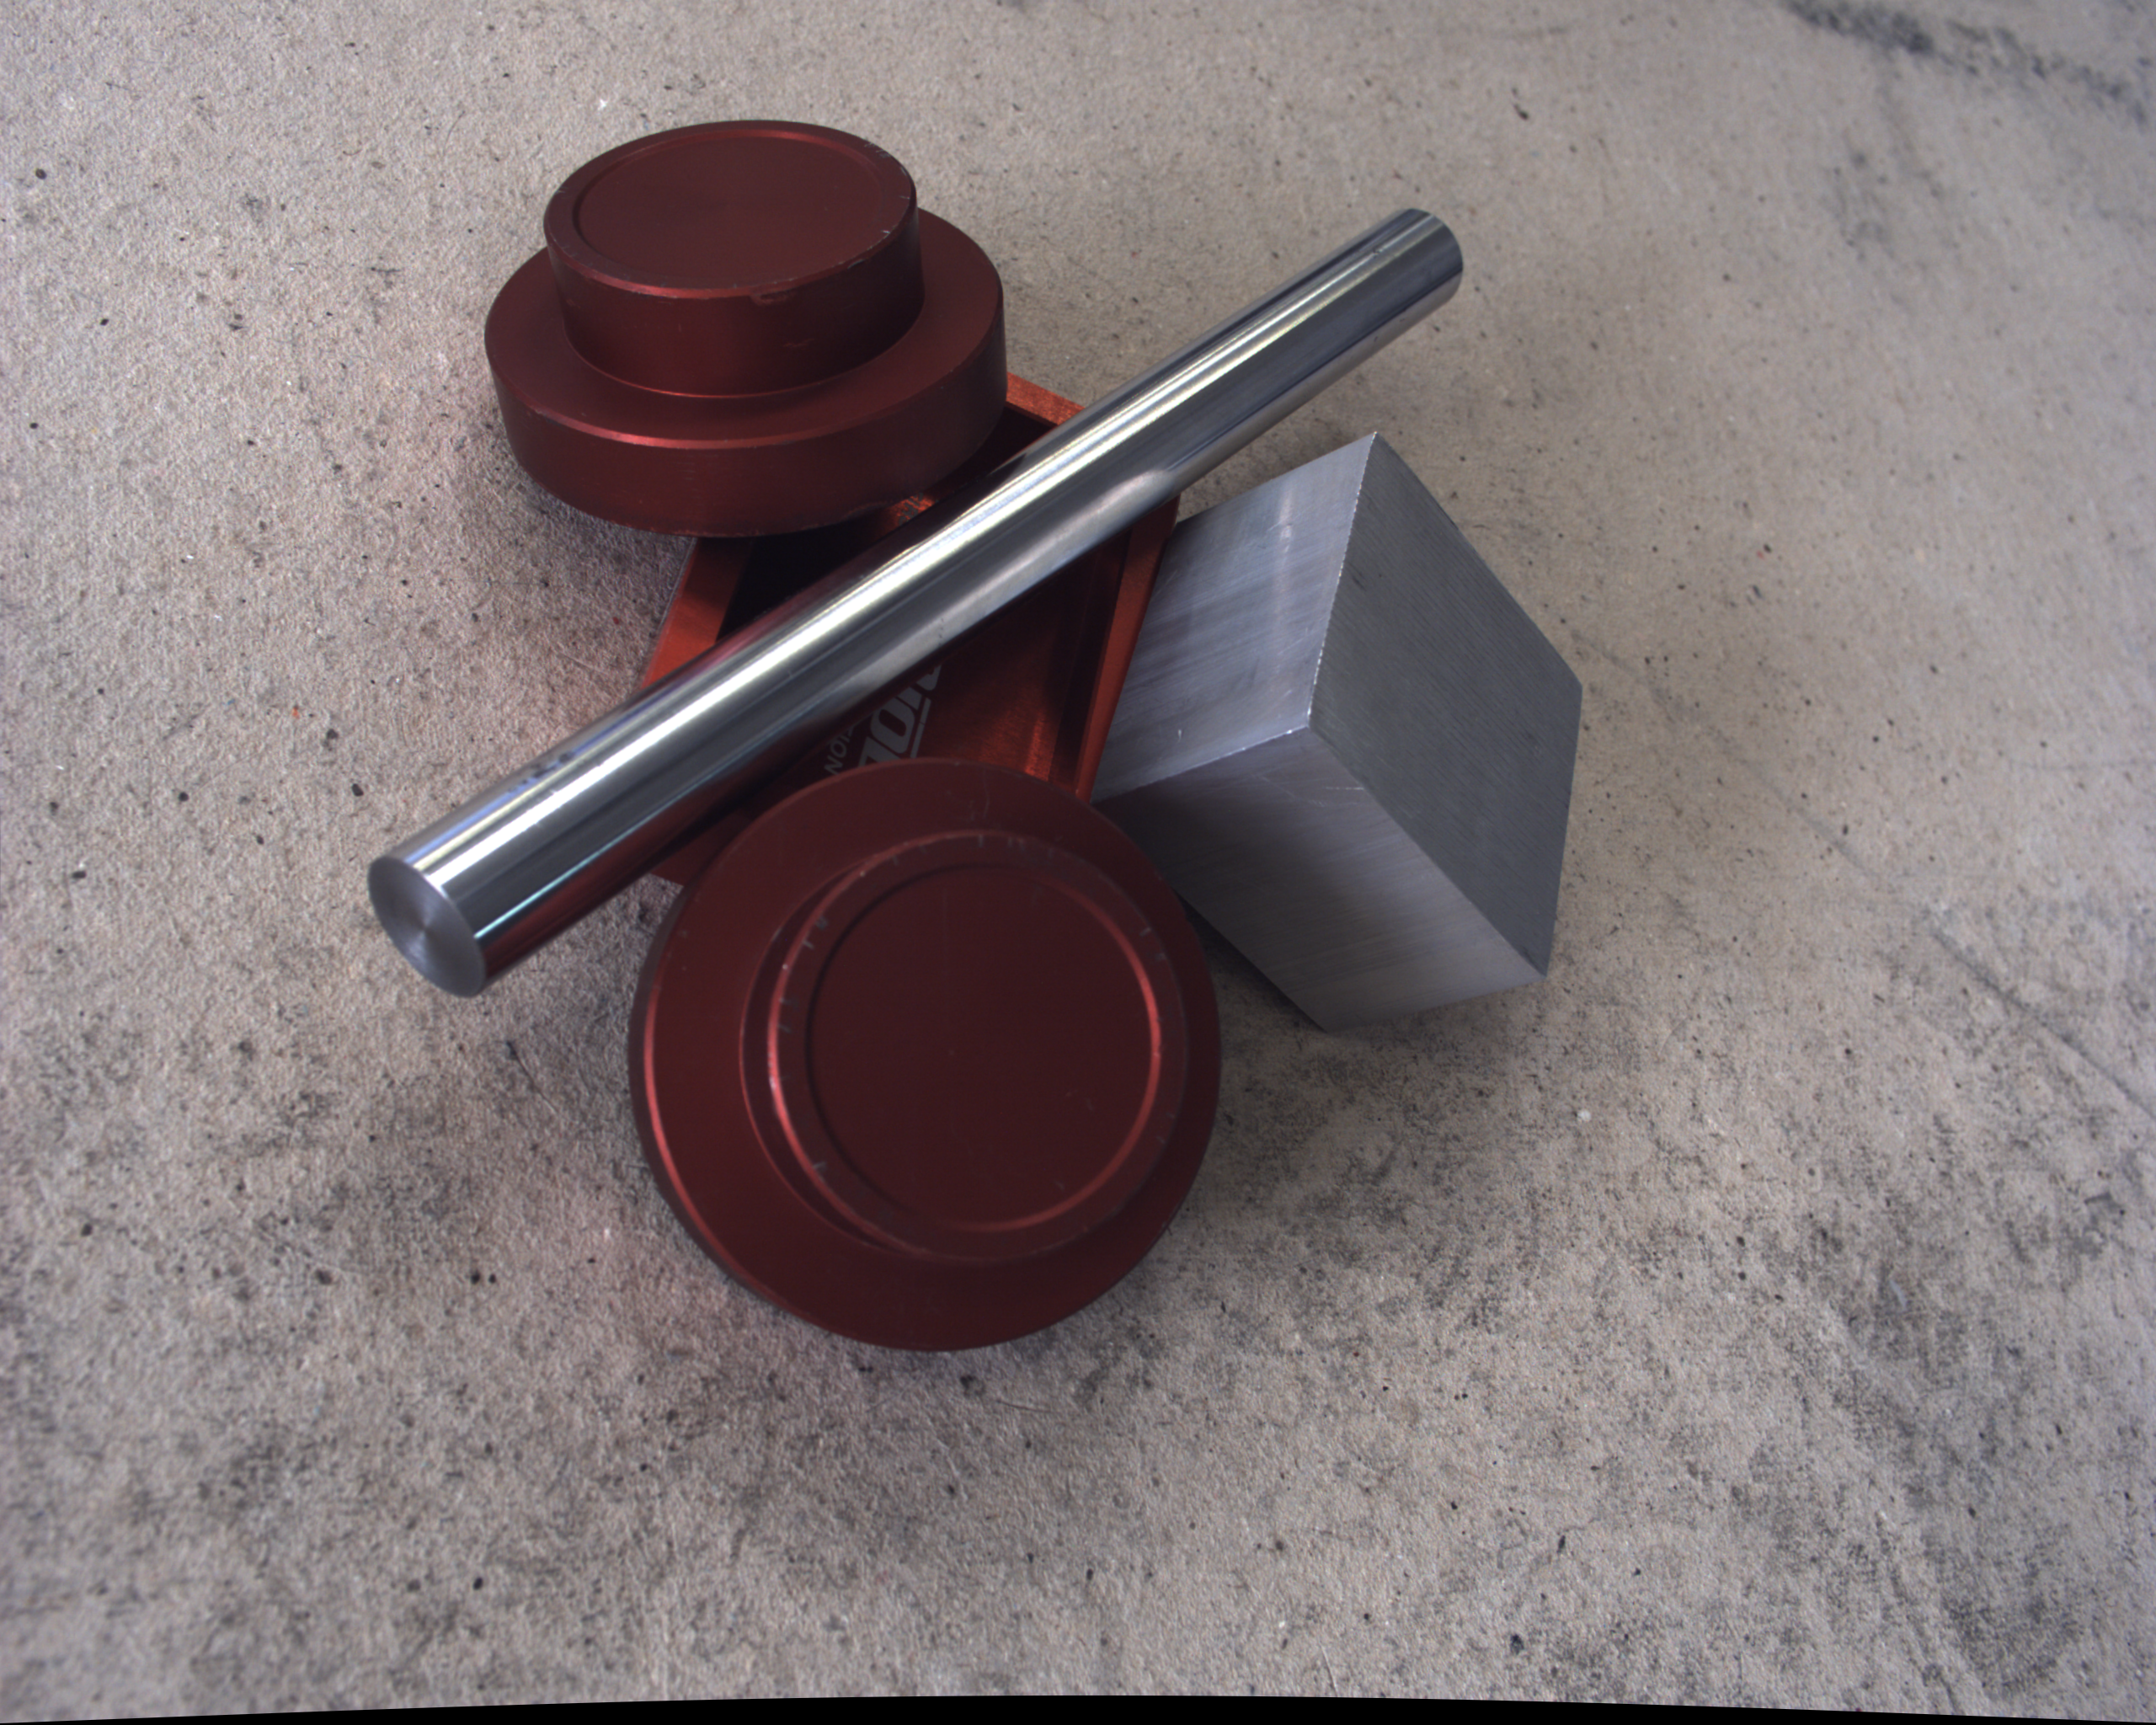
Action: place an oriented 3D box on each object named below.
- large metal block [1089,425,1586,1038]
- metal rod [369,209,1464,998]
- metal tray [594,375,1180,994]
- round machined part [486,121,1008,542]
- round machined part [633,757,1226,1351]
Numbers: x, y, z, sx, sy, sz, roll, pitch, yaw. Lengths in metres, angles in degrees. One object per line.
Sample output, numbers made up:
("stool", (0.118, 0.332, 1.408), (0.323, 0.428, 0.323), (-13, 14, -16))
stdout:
("large metal block", (0.055, -0.024, 0.415), (0.080, 0.050, 0.080), (43, 46, -31))
("metal rod", (-0.008, -0.067, 0.404), (0.025, 0.025, 0.302), (46, 51, 4))
("metal tray", (-0.033, -0.046, 0.412), (0.091, 0.030, 0.130), (22, 53, -15))
("round machined part", (-0.064, -0.107, 0.400), (0.099, 0.042, 0.098), (-1, 45, 1))
("round machined part", (-0.020, 0.031, 0.343), (0.099, 0.042, 0.097), (3, 81, -21))
